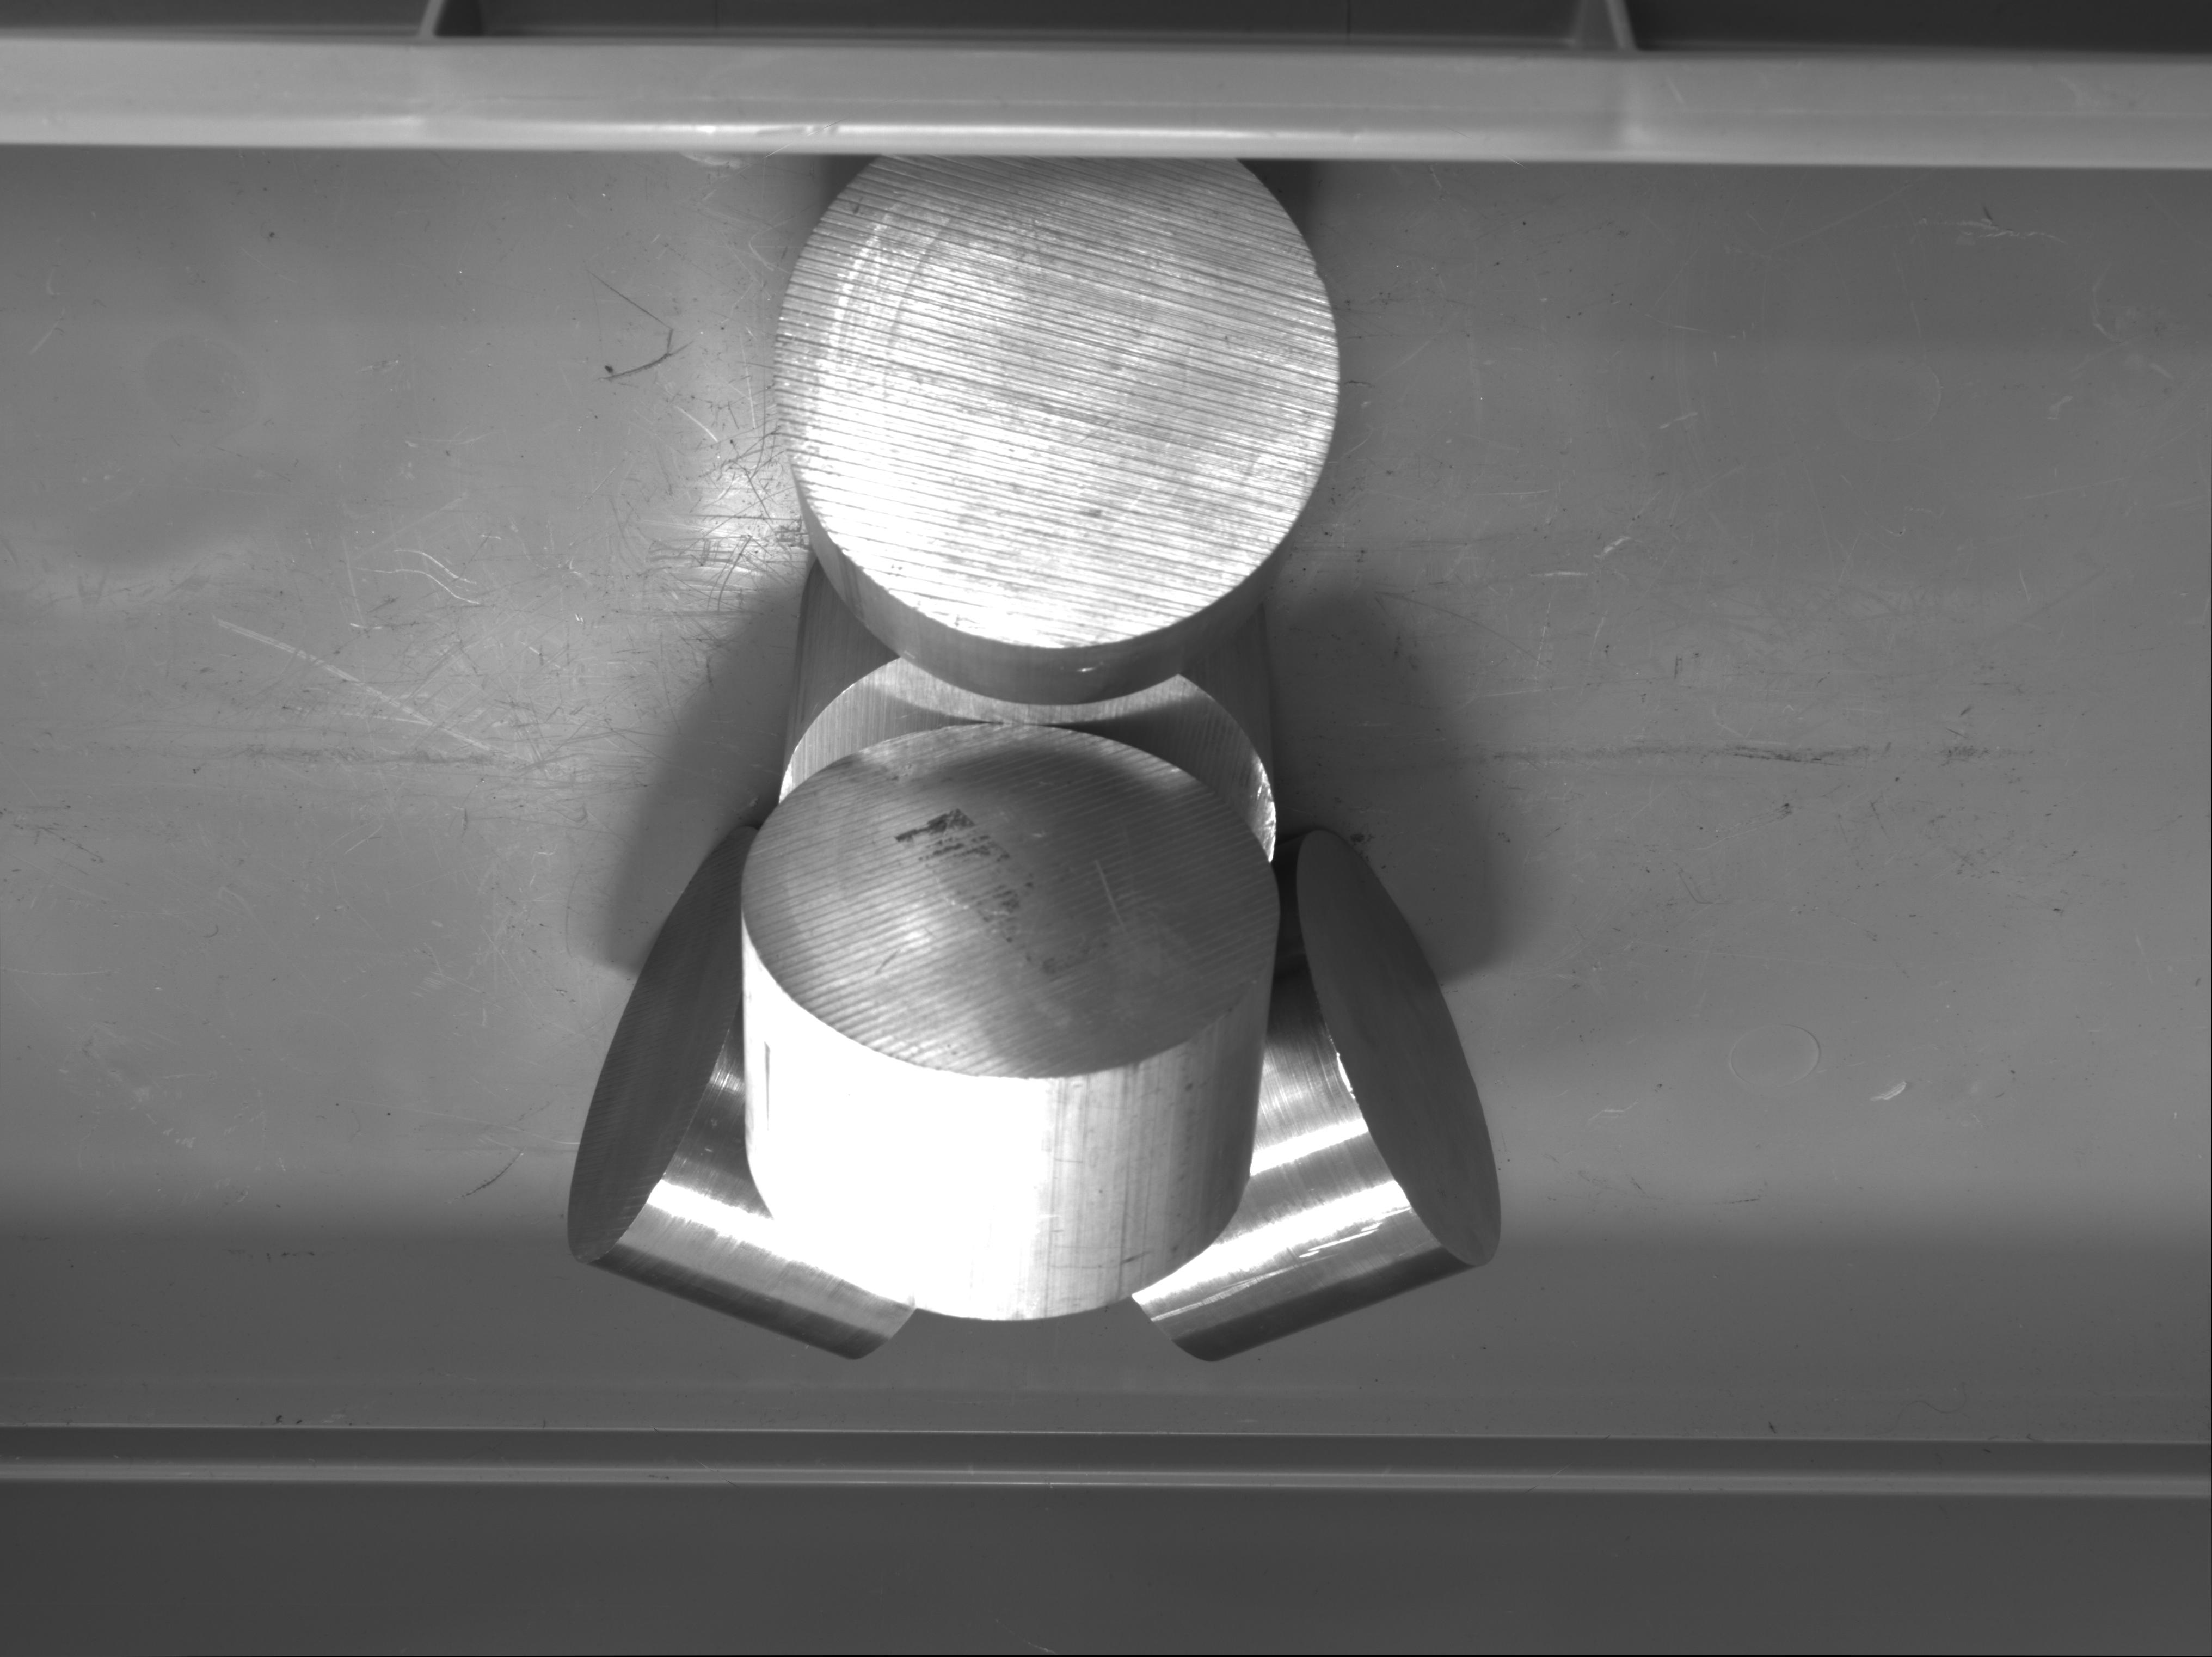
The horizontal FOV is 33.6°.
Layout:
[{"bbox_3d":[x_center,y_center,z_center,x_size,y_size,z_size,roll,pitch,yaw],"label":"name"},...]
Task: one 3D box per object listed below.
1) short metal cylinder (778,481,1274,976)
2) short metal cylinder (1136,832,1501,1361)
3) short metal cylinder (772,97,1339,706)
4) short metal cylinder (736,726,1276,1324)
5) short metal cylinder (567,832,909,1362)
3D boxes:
[{"bbox_3d":[-0.013,-0.015,0.607,0.080,0.050,0.080,0,130,0],"label":"short metal cylinder"},{"bbox_3d":[0.029,0.047,0.641,0.050,0.080,0.080,-22,126,19],"label":"short metal cylinder"},{"bbox_3d":[-0.008,-0.061,0.542,0.080,0.080,0.050,3,172,-3],"label":"short metal cylinder"},{"bbox_3d":[-0.016,0.029,0.560,0.080,0.080,0.050,2,130,-2],"label":"short metal cylinder"},{"bbox_3d":[-0.054,0.047,0.641,0.050,0.080,0.080,23,126,-18],"label":"short metal cylinder"}]
